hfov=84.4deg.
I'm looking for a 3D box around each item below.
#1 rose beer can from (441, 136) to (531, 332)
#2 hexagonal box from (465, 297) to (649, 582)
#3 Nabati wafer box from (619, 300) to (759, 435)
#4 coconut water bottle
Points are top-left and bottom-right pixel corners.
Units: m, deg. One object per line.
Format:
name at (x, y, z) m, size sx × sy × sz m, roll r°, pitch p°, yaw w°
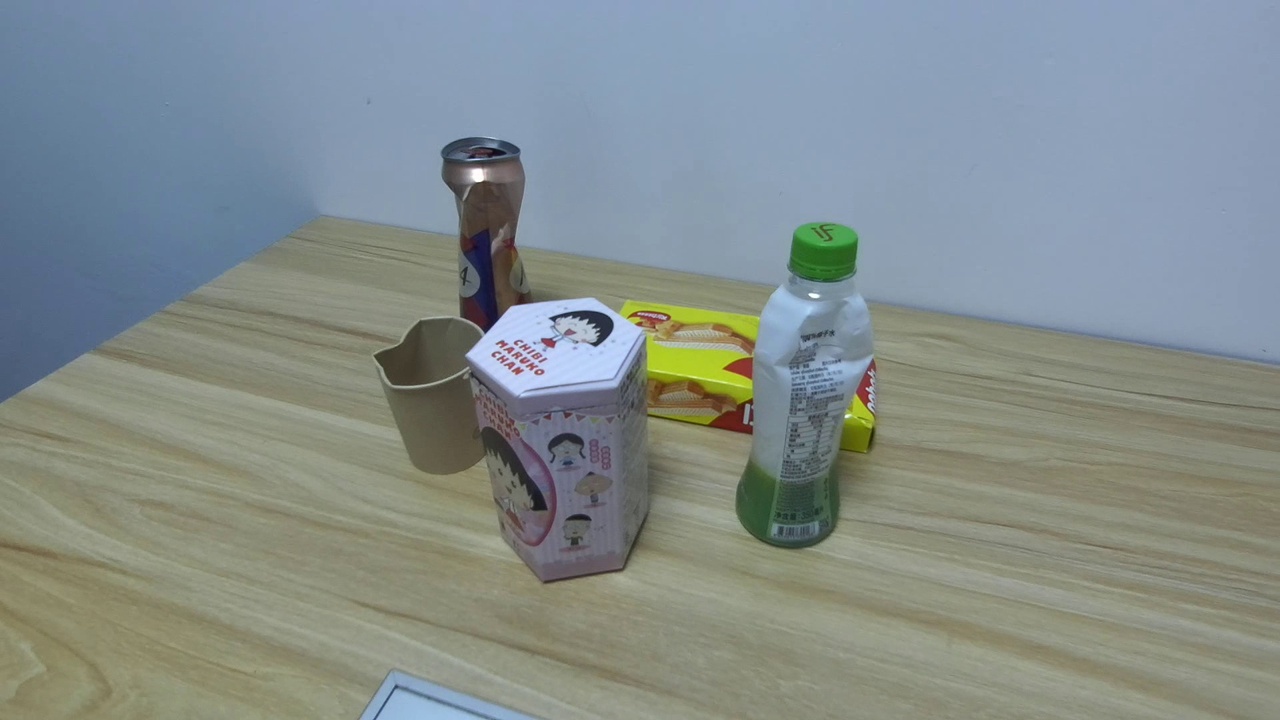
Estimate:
rose beer can at (-0.111, -0.079, 0.542) m, size 0.065 × 0.167 × 0.075 m, roll -1°, pitch 31°, yaw -6°
hexagonal box at (-0.040, 0.046, 0.391) m, size 0.084 × 0.136 × 0.091 m, roll -27°, pitch 43°, yaw -32°
Nabati wafer box at (0.072, 0.007, 0.523) m, size 0.203 × 0.042 × 0.096 m, roll 10°, pitch 34°, yaw 12°
coconut water bottle at (0.090, 0.017, 0.385) m, size 0.067 × 0.187 × 0.067 m, roll -1°, pitch 35°, yaw 1°
